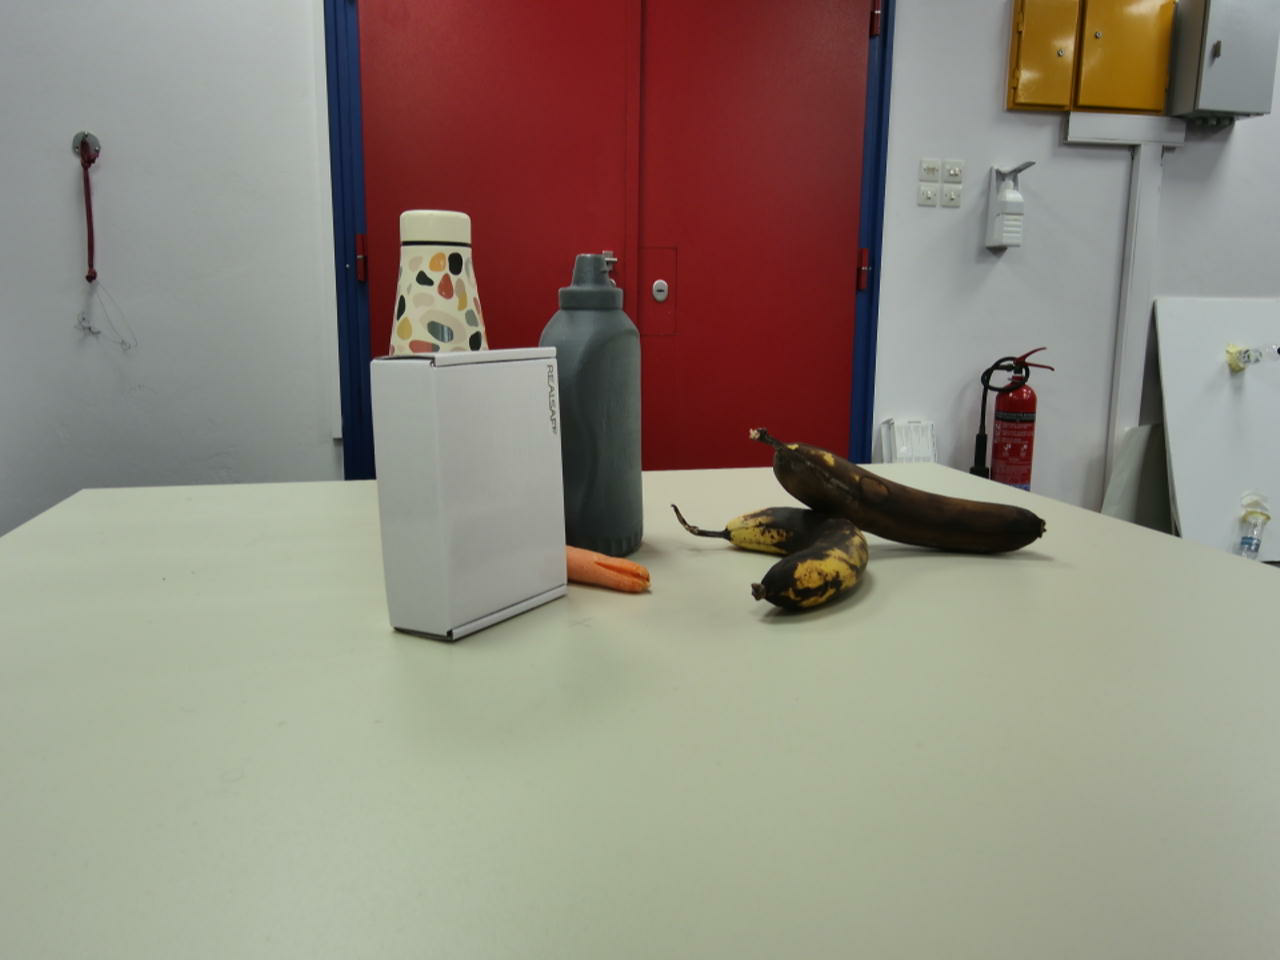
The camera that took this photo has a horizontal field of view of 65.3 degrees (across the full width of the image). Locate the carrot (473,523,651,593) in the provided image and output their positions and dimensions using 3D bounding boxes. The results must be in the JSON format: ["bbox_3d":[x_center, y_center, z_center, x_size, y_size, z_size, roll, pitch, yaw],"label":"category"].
[{"bbox_3d":[-0.053,0.049,0.638,0.136,0.032,0.030,6,9,32],"label":"carrot"}]
